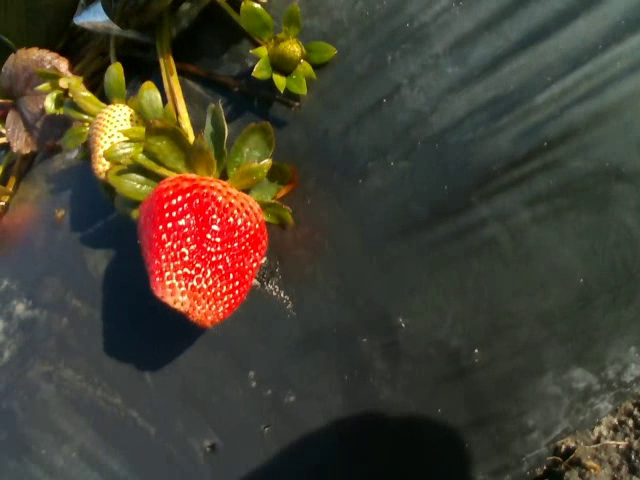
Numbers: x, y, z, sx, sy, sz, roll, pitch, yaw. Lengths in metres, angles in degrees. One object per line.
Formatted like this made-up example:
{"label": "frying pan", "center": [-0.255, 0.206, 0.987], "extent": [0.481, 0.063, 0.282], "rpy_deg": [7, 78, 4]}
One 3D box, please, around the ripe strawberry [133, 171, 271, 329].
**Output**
{"label": "ripe strawberry", "center": [-0.036, 0.007, 0.186], "extent": [0.042, 0.059, 0.042], "rpy_deg": [-20, -36, 13]}
